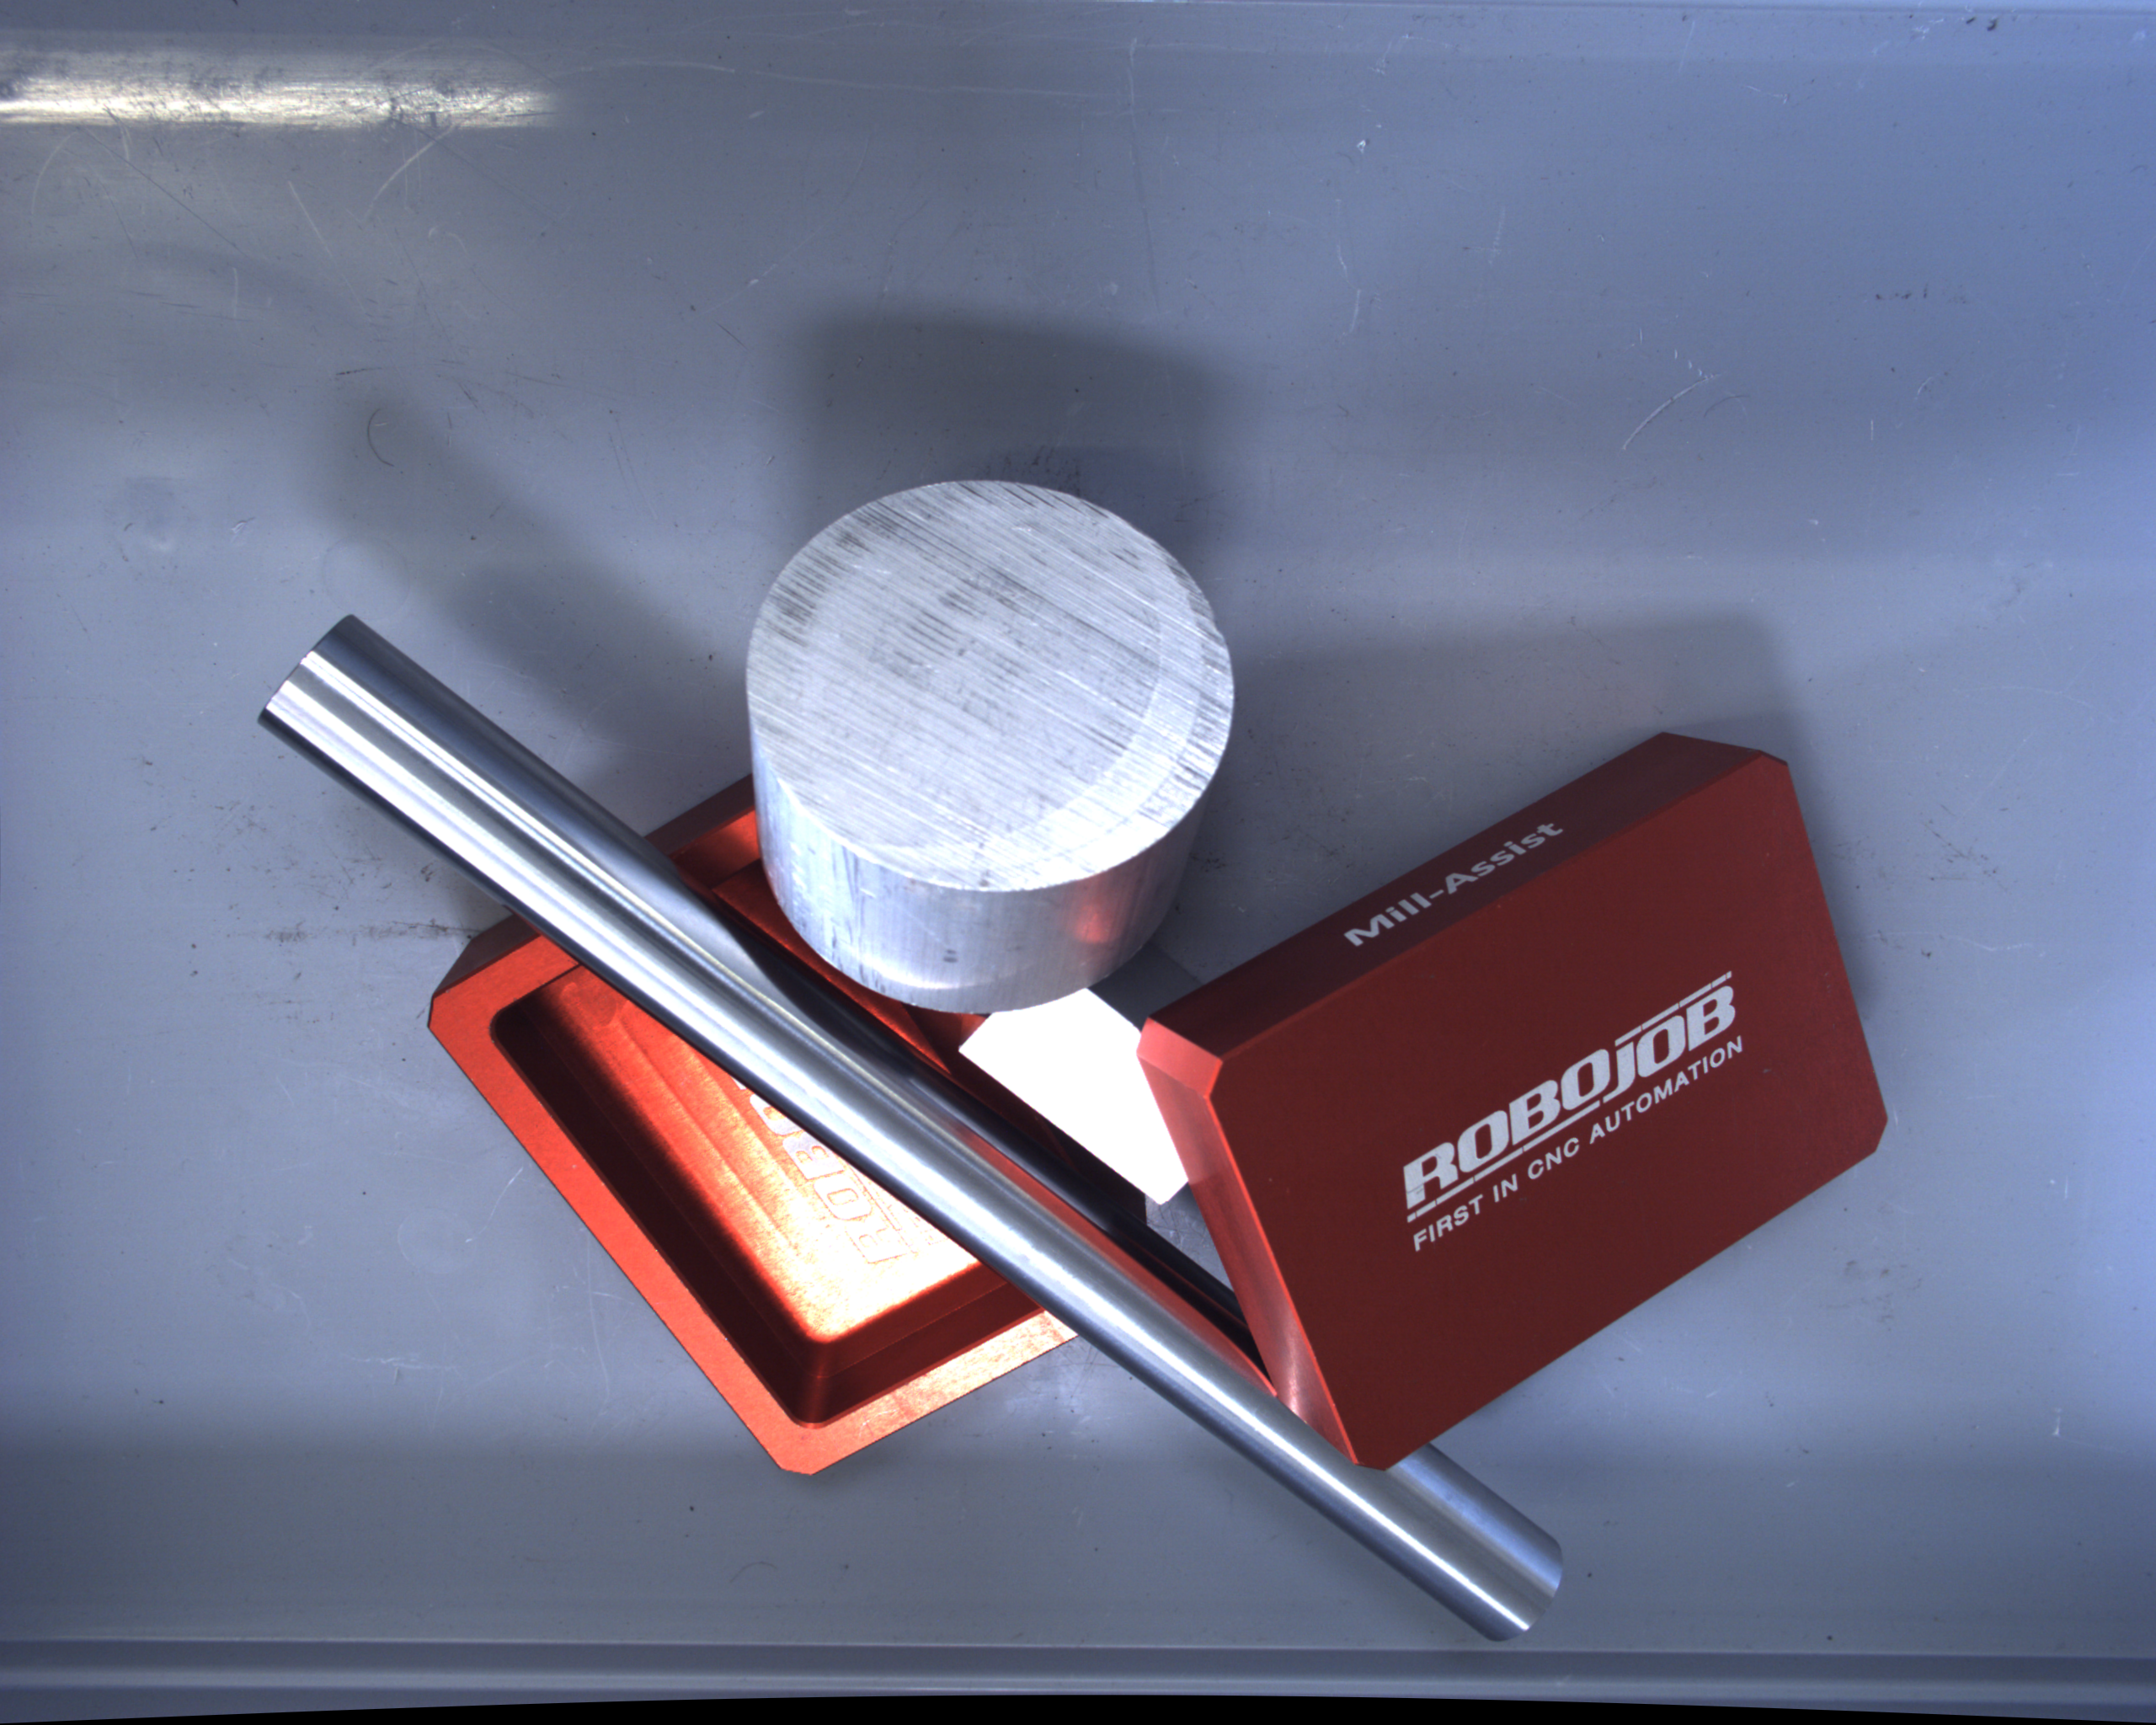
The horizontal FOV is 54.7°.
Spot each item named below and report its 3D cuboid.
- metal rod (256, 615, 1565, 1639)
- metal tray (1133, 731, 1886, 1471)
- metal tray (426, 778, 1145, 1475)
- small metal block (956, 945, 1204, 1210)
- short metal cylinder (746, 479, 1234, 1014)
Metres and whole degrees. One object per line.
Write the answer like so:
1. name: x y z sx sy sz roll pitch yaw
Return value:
1. metal rod: -0.021 0.058 0.399 0.301 0.025 0.025 39 105 -14
2. metal tray: 0.085 0.043 0.396 0.131 0.030 0.090 -28 110 -16
3. metal tray: -0.055 0.053 0.425 0.090 0.030 0.130 -30 108 10
4. small metal block: 0.005 0.033 0.407 0.050 0.050 0.025 39 106 -13
5. short metal cylinder: -0.017 -0.020 0.366 0.081 0.080 0.050 8 152 -3
